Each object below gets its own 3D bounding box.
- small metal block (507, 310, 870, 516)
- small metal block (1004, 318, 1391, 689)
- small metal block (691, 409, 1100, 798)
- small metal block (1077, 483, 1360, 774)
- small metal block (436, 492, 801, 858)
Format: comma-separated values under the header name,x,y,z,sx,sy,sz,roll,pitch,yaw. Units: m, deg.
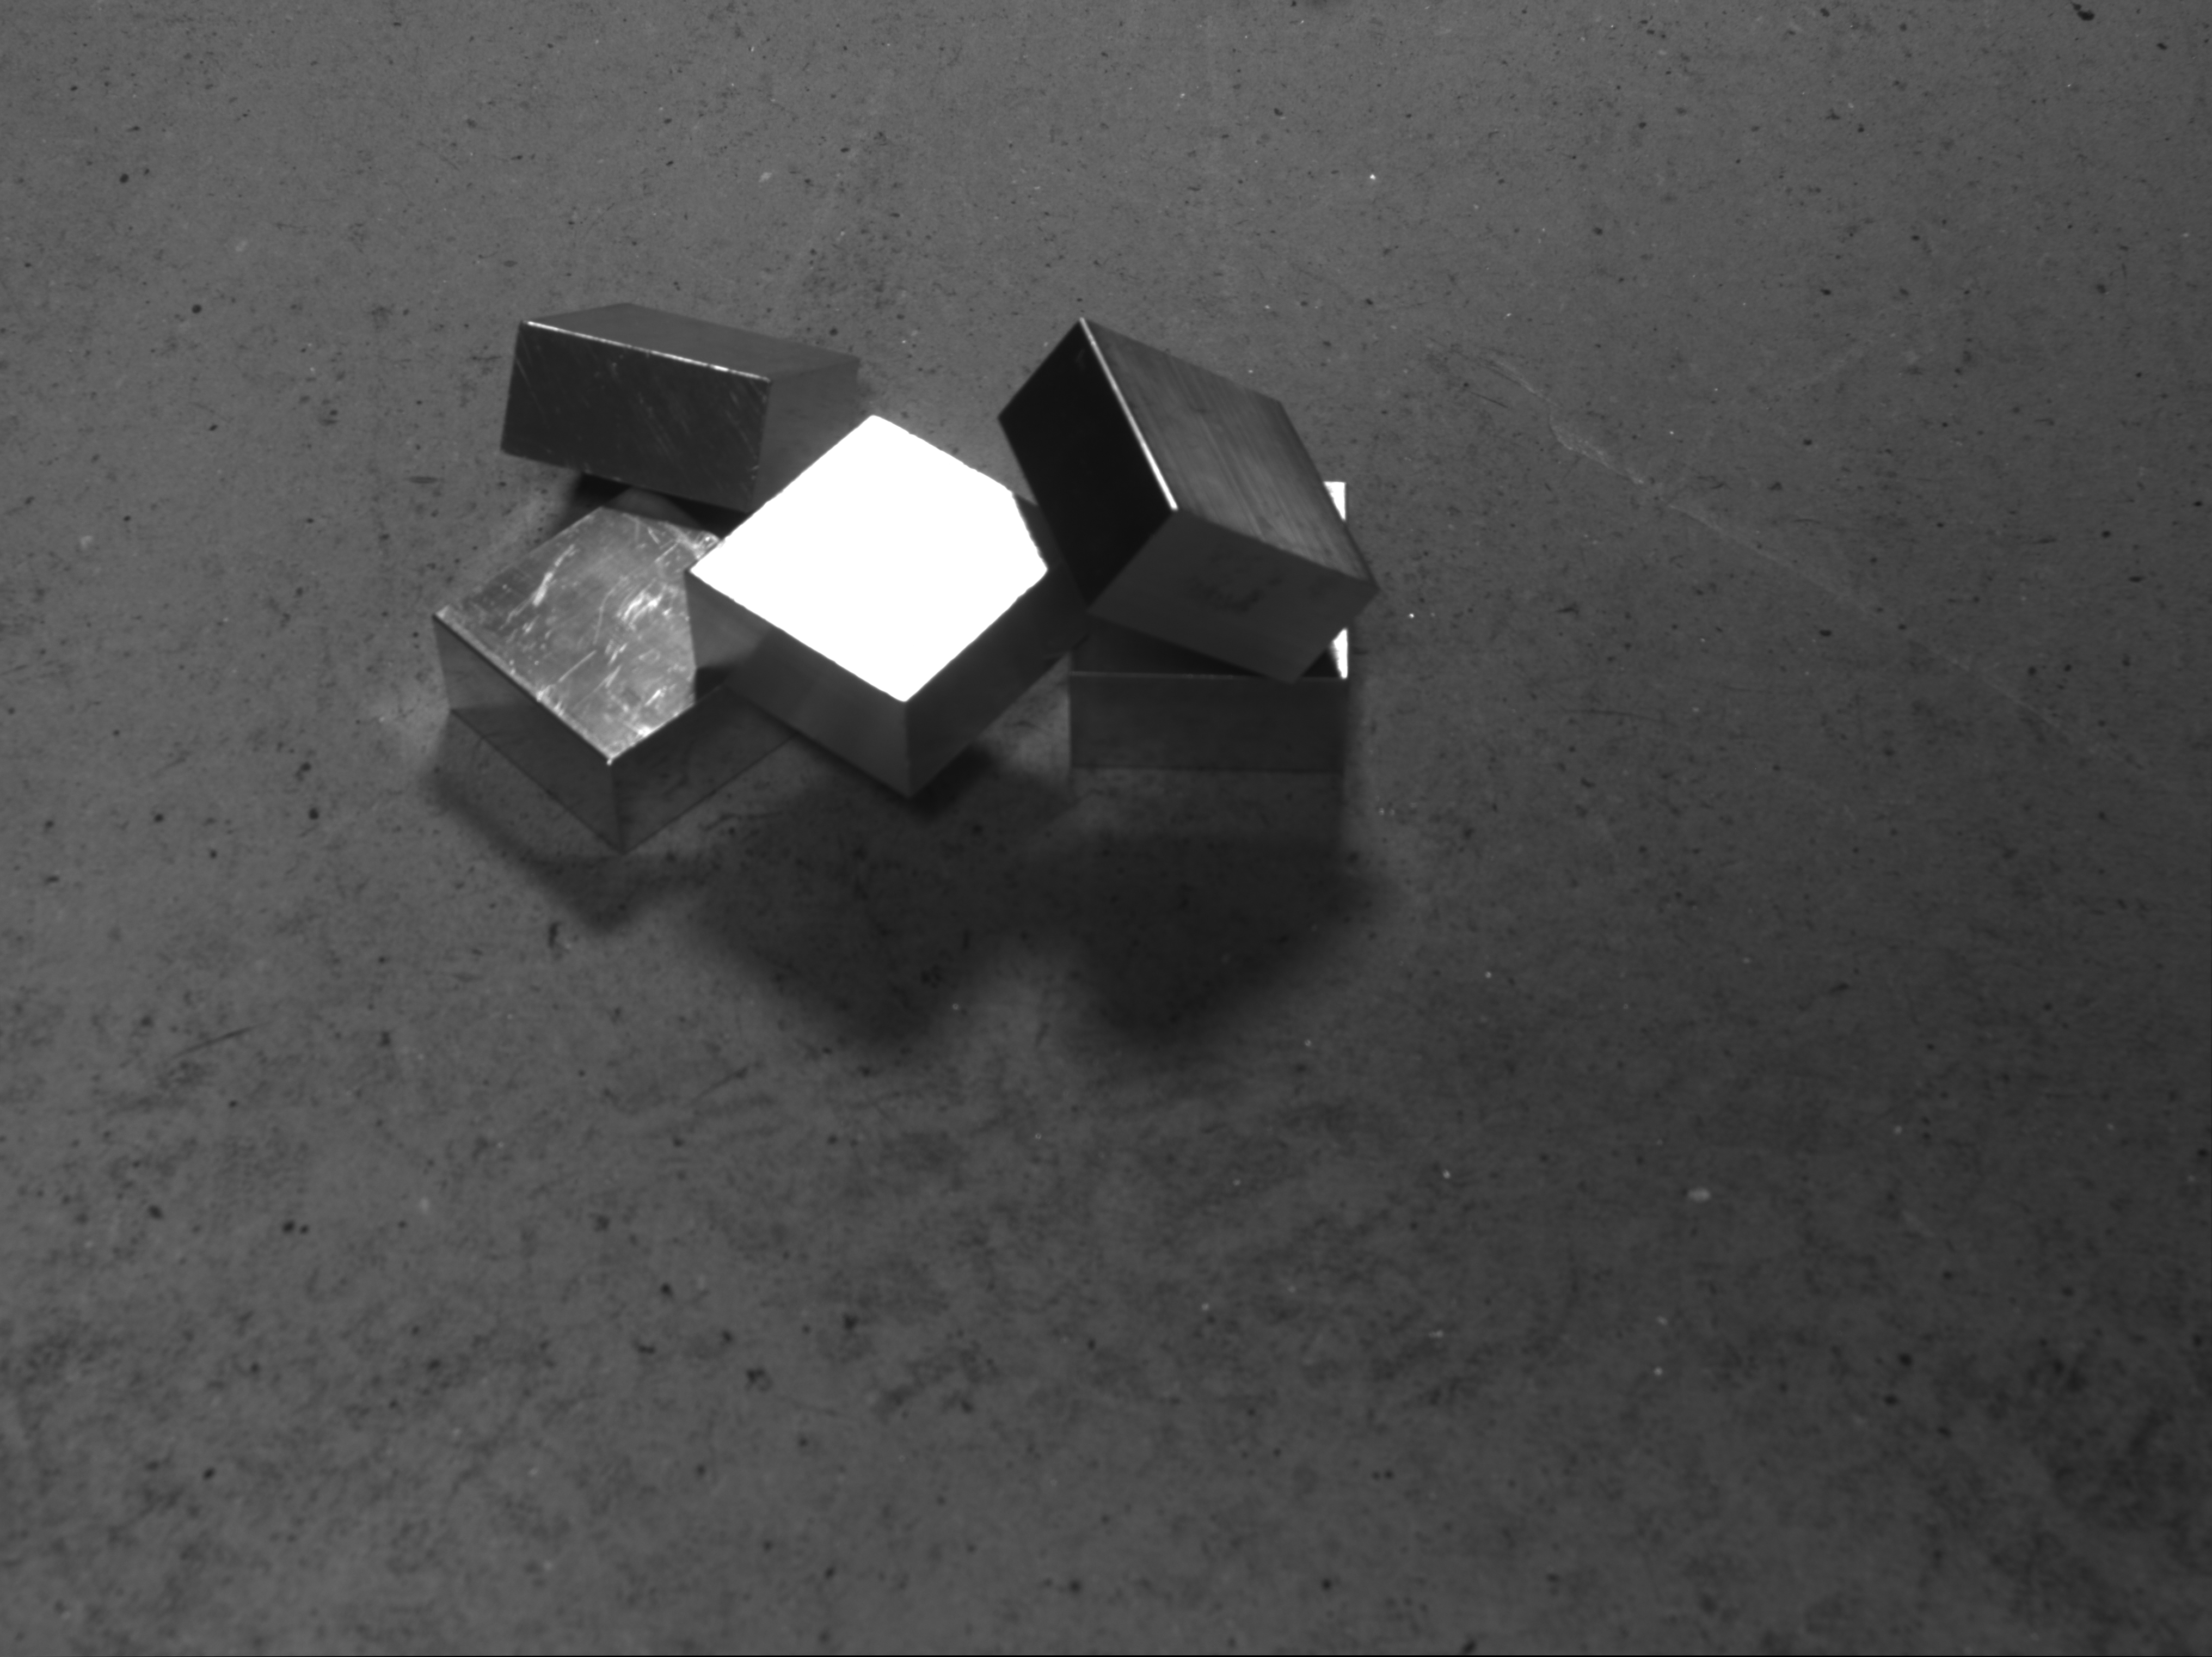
name,x,y,z,sx,sy,sz,roll,pitch,yaw
small metal block,-0.078,-0.080,0.694,0.050,0.025,0.050,15,15,12
small metal block,0.016,-0.057,0.641,0.050,0.025,0.050,17,37,-40
small metal block,-0.036,-0.040,0.642,0.050,0.025,0.050,31,56,23
small metal block,0.021,-0.038,0.674,0.050,0.025,0.050,2,50,1
small metal block,-0.085,-0.030,0.667,0.050,0.025,0.050,-37,59,-27
